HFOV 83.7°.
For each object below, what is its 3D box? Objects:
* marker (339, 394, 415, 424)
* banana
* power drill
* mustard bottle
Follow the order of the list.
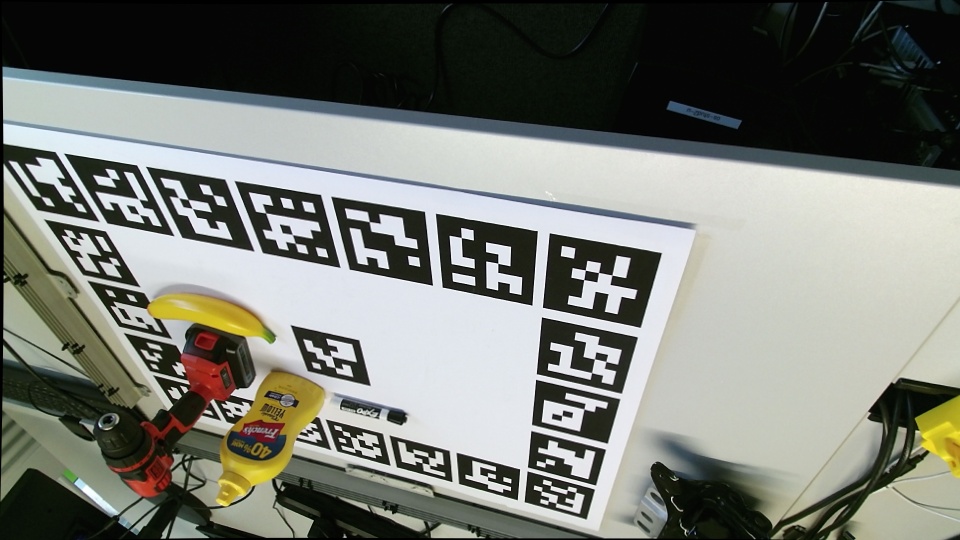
[{"bbox_3d":[-0.158,0.215,0.824,0.121,0.019,0.019,11,129,11],"label":"marker"},{"bbox_3d":[-0.375,0.057,0.764,0.198,0.039,0.074,15,129,6],"label":"banana"},{"bbox_3d":[-0.410,0.180,0.750,0.057,0.186,0.184,21,134,5],"label":"power drill"},{"bbox_3d":[-0.303,0.238,0.780,0.096,0.191,0.058,19,131,6],"label":"mustard bottle"}]
